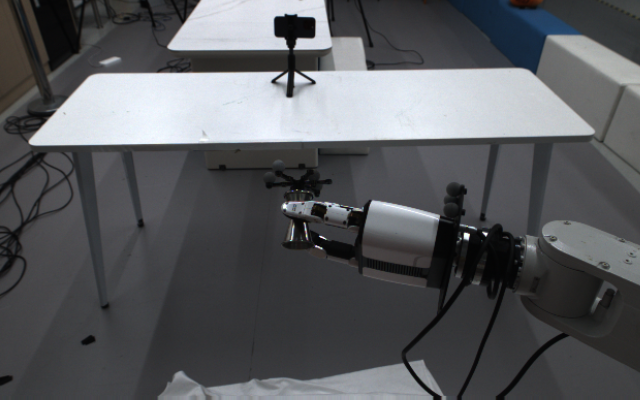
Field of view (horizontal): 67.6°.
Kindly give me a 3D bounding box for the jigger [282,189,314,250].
[{"bbox_3d":[-0.028,0.024,0.621,0.043,0.043,0.071,1,70,-2],"label":"jigger"}]
